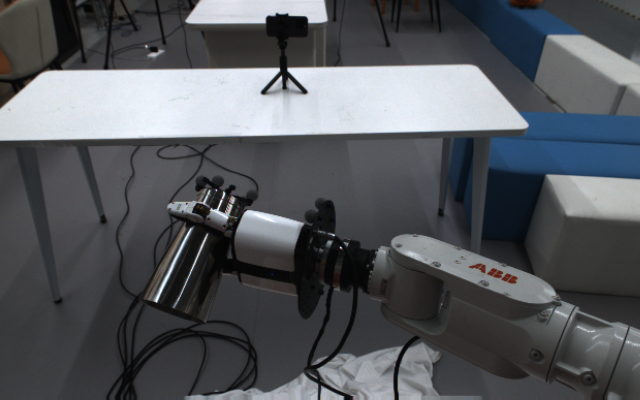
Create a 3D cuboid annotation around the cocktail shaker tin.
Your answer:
[{"bbox_3d":[-0.165,0.071,0.664,0.093,0.093,0.170,12,65,15],"label":"cocktail shaker tin"}]
